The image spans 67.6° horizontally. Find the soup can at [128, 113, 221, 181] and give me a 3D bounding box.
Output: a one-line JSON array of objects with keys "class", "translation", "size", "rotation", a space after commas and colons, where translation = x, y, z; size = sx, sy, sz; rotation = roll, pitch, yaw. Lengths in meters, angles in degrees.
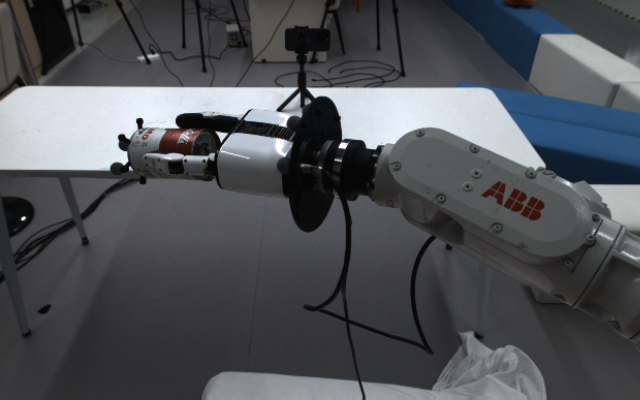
[{"class": "soup can", "translation": [-0.188, -0.059, 0.634], "size": [0.101, 0.067, 0.067], "rotation": [4, 34, 20]}]
